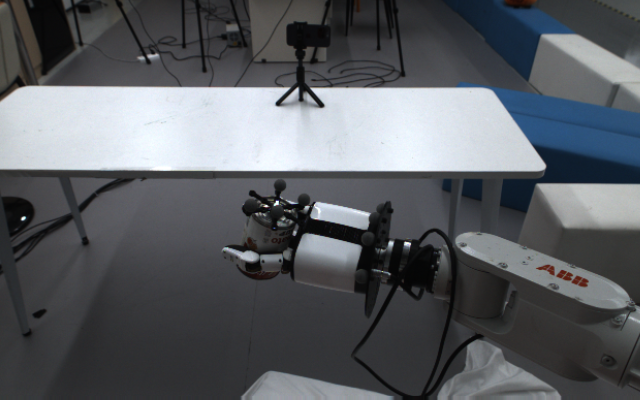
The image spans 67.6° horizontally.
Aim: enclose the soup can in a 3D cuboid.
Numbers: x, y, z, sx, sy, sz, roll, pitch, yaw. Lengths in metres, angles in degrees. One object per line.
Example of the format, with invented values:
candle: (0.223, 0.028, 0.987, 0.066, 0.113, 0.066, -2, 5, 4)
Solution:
soup can: (-0.074, 0.054, 0.675, 0.067, 0.101, 0.067, 14, 35, -10)
